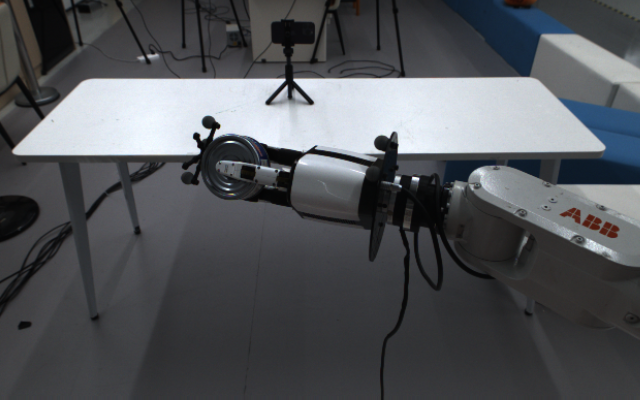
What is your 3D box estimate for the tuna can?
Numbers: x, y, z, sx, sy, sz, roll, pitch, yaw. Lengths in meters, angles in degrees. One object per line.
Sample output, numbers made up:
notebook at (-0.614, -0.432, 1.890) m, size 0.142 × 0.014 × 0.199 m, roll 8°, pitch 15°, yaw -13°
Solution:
tuna can at (-0.109, -0.043, 0.629) m, size 0.085 × 0.085 × 0.034 m, roll 12°, pitch 5°, yaw 13°
